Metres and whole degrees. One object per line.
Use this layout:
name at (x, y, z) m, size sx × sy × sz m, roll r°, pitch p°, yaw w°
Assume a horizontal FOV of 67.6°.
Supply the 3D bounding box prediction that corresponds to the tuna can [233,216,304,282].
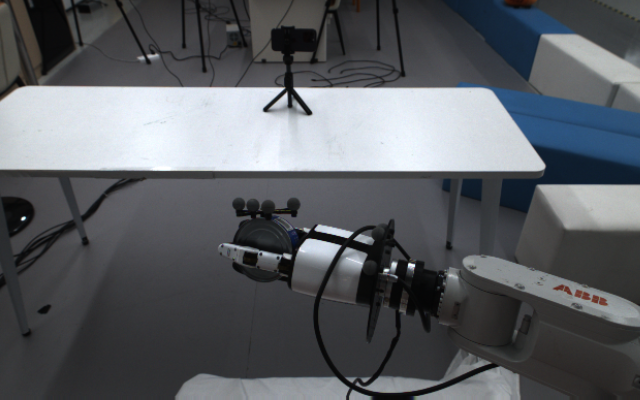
tuna can at (-0.069, 0.063, 0.642) m, size 0.085 × 0.085 × 0.034 m, roll 15°, pitch 10°, yaw 18°
